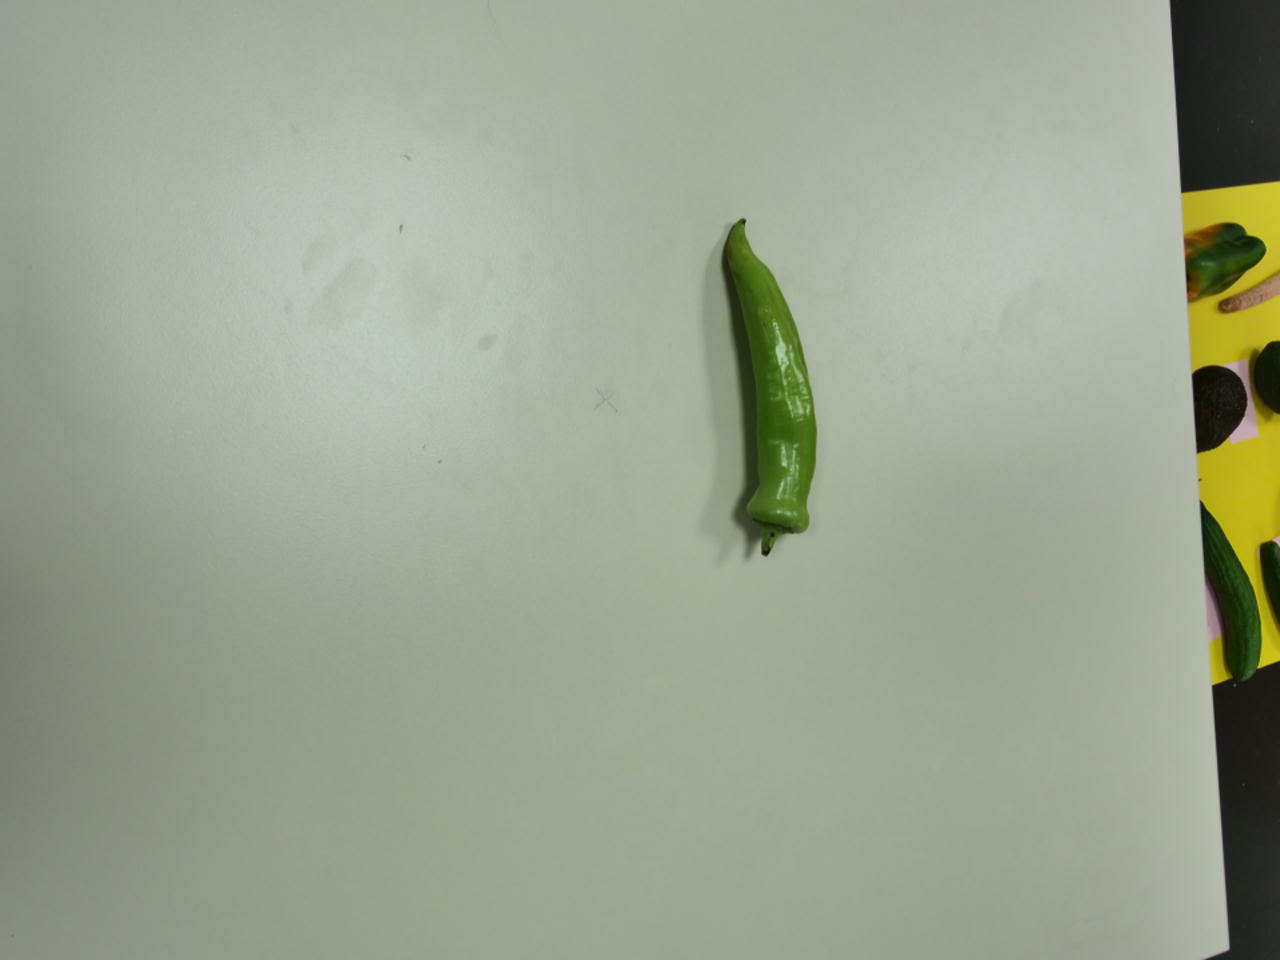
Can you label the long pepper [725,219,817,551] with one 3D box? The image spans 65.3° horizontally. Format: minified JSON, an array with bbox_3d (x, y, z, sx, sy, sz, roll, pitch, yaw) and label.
[{"bbox_3d":[0.079,-0.056,0.582,0.046,0.038,0.197,-4,92,-22],"label":"long pepper"}]
